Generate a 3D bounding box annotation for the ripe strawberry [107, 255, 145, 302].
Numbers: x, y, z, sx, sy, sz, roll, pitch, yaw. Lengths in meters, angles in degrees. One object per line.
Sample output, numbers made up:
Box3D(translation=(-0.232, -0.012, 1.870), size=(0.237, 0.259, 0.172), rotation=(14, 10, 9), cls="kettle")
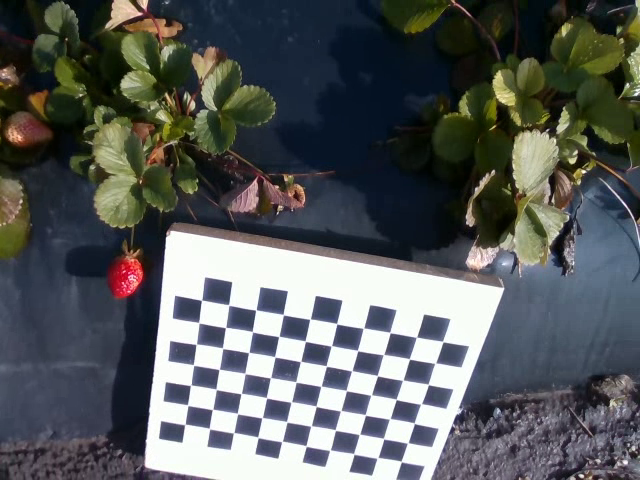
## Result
Box3D(translation=(-0.150, 0.031, 0.478), size=(0.034, 0.038, 0.033), rotation=(9, -26, -2), cls="ripe strawberry")
